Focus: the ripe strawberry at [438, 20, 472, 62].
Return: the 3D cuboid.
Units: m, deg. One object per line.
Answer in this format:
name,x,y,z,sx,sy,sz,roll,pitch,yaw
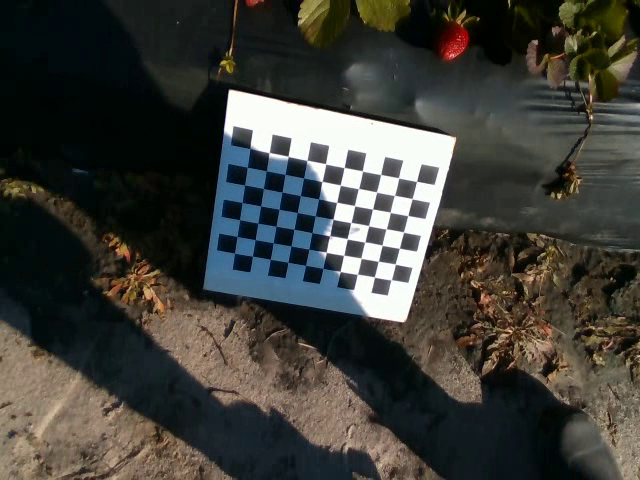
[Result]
ripe strawberry,0.141,-0.211,0.681,0.042,0.050,0.043,44,-35,-18
